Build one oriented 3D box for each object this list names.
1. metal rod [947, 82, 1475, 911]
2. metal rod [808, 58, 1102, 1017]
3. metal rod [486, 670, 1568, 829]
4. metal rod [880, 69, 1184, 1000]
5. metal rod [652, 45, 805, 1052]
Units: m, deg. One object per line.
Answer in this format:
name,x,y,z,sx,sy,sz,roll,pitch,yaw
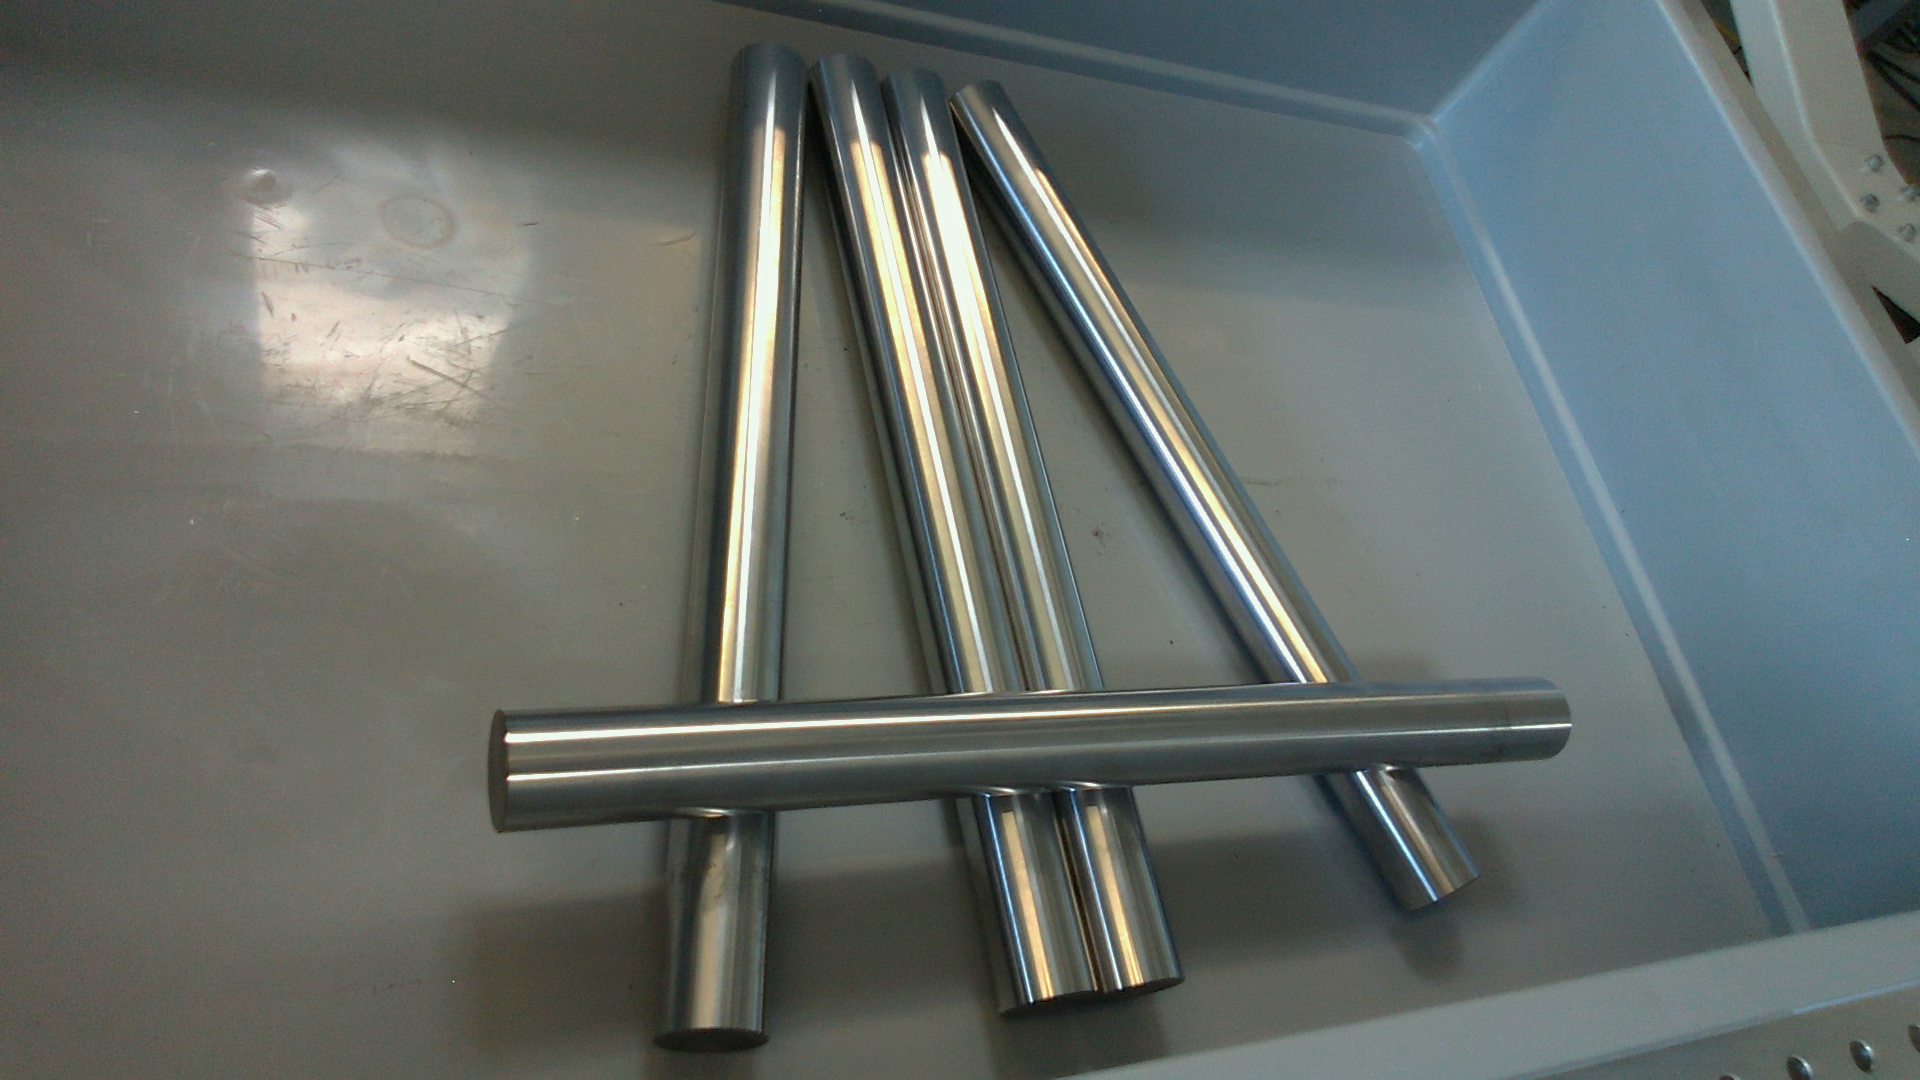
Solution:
metal rod,0.071,-0.025,0.442,0.025,0.025,0.300,-17,71,-35
metal rod,-0.009,-0.020,0.396,0.025,0.025,0.300,1,61,-28
metal rod,0.040,0.049,0.347,0.301,0.025,0.025,1,61,-27
metal rod,0.012,-0.020,0.408,0.025,0.025,0.300,1,61,-28
metal rod,-0.058,-0.022,0.371,0.025,0.025,0.300,12,57,-22
